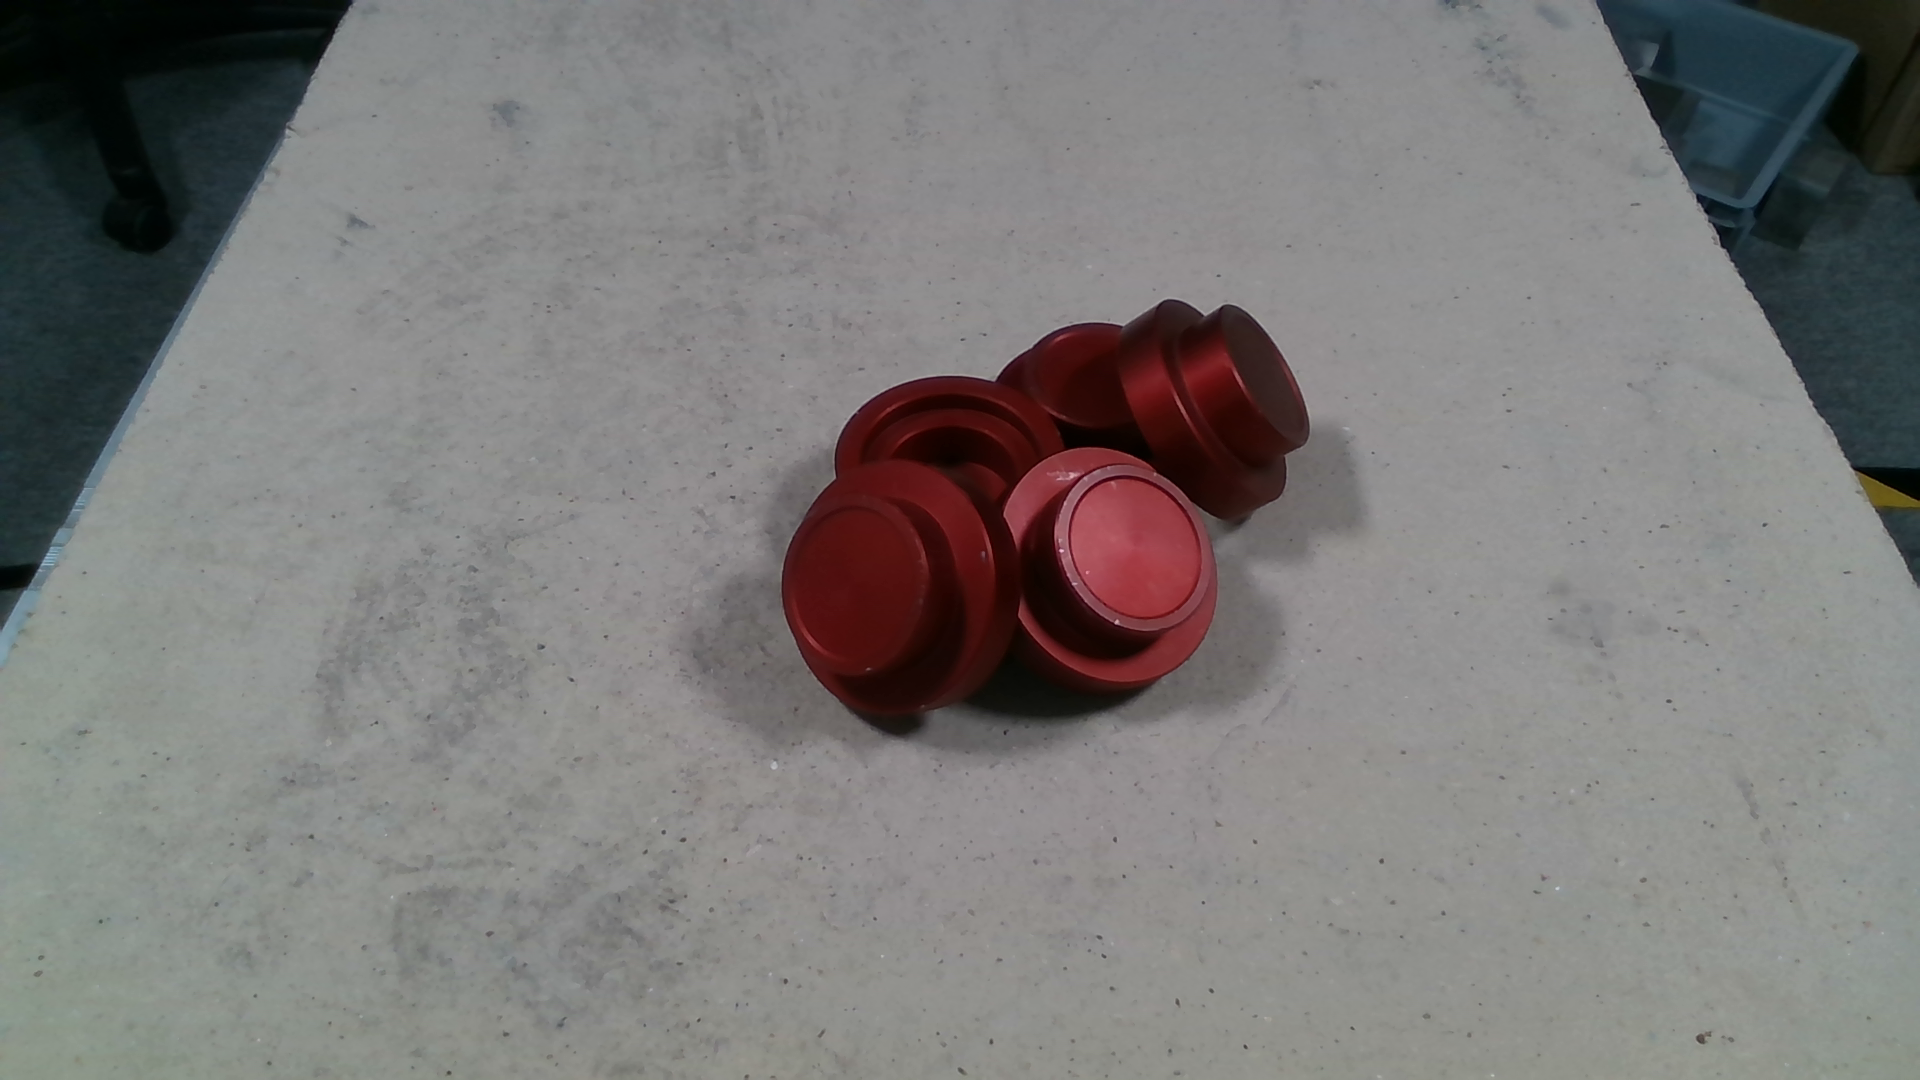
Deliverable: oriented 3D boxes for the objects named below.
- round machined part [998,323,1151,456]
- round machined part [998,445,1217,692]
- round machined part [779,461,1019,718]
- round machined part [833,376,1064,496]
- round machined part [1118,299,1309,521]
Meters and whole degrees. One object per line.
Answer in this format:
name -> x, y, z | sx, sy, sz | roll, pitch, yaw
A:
round machined part -> 0.062, -0.061, 0.629 | 0.098, 0.042, 0.098 | 0, 50, 0
round machined part -> 0.059, 0.008, 0.541 | 0.098, 0.042, 0.098 | 7, 71, -21
round machined part -> -0.030, 0.019, 0.524 | 0.098, 0.098, 0.042 | 39, 19, 28
round machined part -> -0.004, -0.023, 0.595 | 0.098, 0.042, 0.098 | 0, 50, 0
round machined part -> 0.113, -0.061, 0.589 | 0.042, 0.098, 0.098 | -29, 42, 31
